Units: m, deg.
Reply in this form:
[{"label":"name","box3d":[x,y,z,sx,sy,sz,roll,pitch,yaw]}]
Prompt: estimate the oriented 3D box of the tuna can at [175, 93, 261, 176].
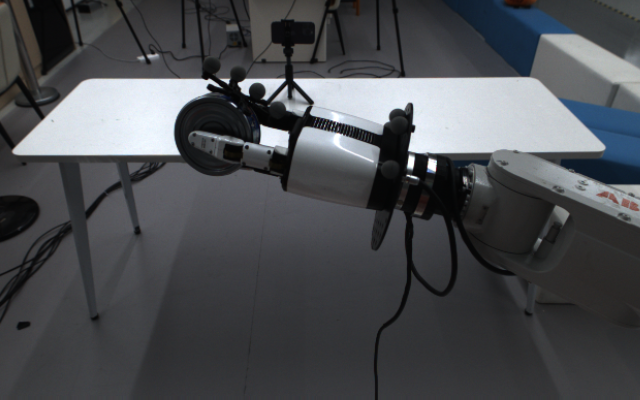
[{"label":"tuna can","box3d":[-0.107,-0.069,0.512,0.085,0.085,0.034,6,19,6]}]
